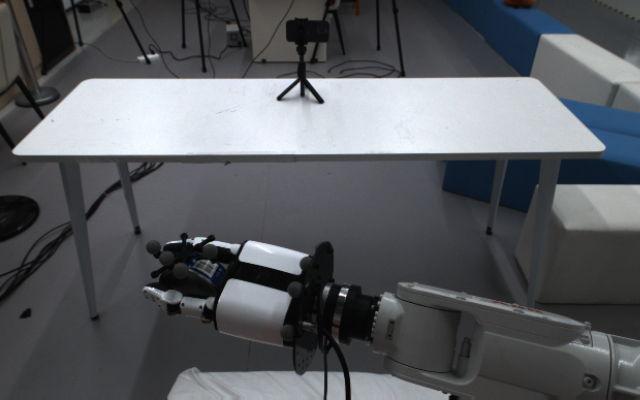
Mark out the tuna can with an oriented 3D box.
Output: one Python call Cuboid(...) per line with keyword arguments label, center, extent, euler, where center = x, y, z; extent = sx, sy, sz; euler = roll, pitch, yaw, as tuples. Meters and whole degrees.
Cuboid(label="tuna can", center=(-0.153, 0.107, 0.610), extent=(0.085, 0.085, 0.034), euler=(11, 39, 12))
